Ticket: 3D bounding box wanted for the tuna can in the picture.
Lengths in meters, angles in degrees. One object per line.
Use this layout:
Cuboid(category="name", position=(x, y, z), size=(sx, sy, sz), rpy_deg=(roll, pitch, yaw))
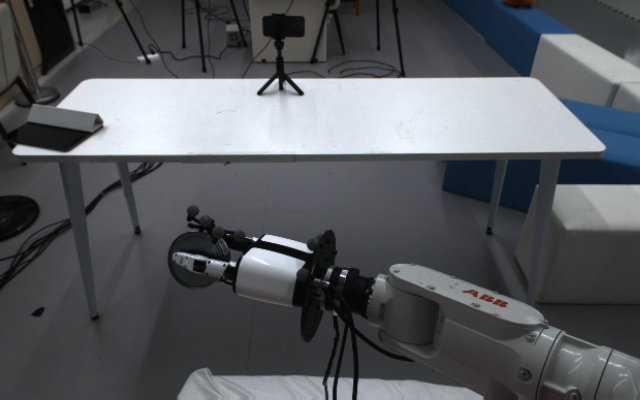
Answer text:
Cuboid(category="tuna can", position=(-0.175, 0.088, 0.710), size=(0.085, 0.085, 0.034), rpy_deg=(10, 4, 11))
